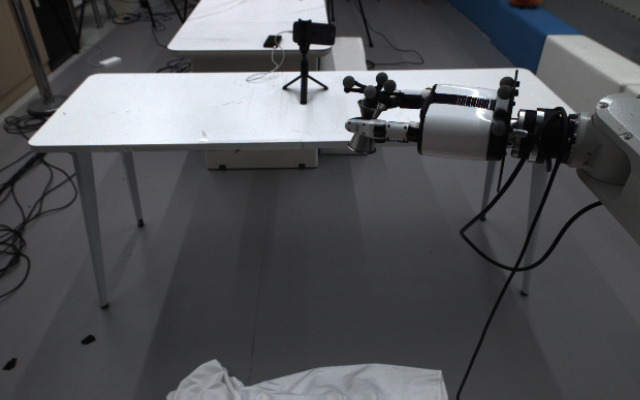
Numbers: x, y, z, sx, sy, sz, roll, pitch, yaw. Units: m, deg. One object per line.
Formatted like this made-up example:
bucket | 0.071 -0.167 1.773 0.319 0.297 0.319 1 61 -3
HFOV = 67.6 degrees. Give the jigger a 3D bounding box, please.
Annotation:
jigger | 0.066 -0.105 0.694 0.043 0.071 0.043 9 30 -5
